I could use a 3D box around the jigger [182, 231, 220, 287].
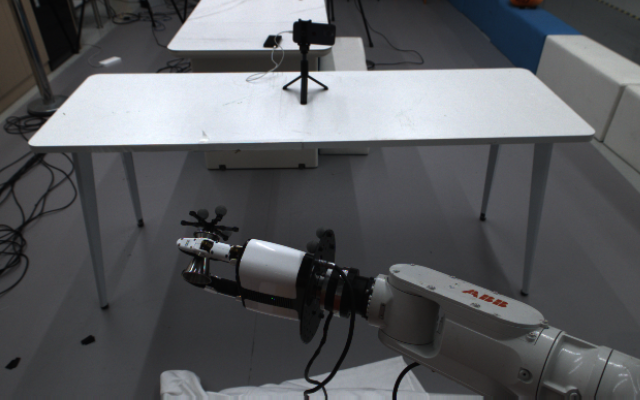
[{"bbox_3d":[-0.177,0.083,0.711,0.043,0.043,0.071,6,60,6],"label":"jigger"}]
